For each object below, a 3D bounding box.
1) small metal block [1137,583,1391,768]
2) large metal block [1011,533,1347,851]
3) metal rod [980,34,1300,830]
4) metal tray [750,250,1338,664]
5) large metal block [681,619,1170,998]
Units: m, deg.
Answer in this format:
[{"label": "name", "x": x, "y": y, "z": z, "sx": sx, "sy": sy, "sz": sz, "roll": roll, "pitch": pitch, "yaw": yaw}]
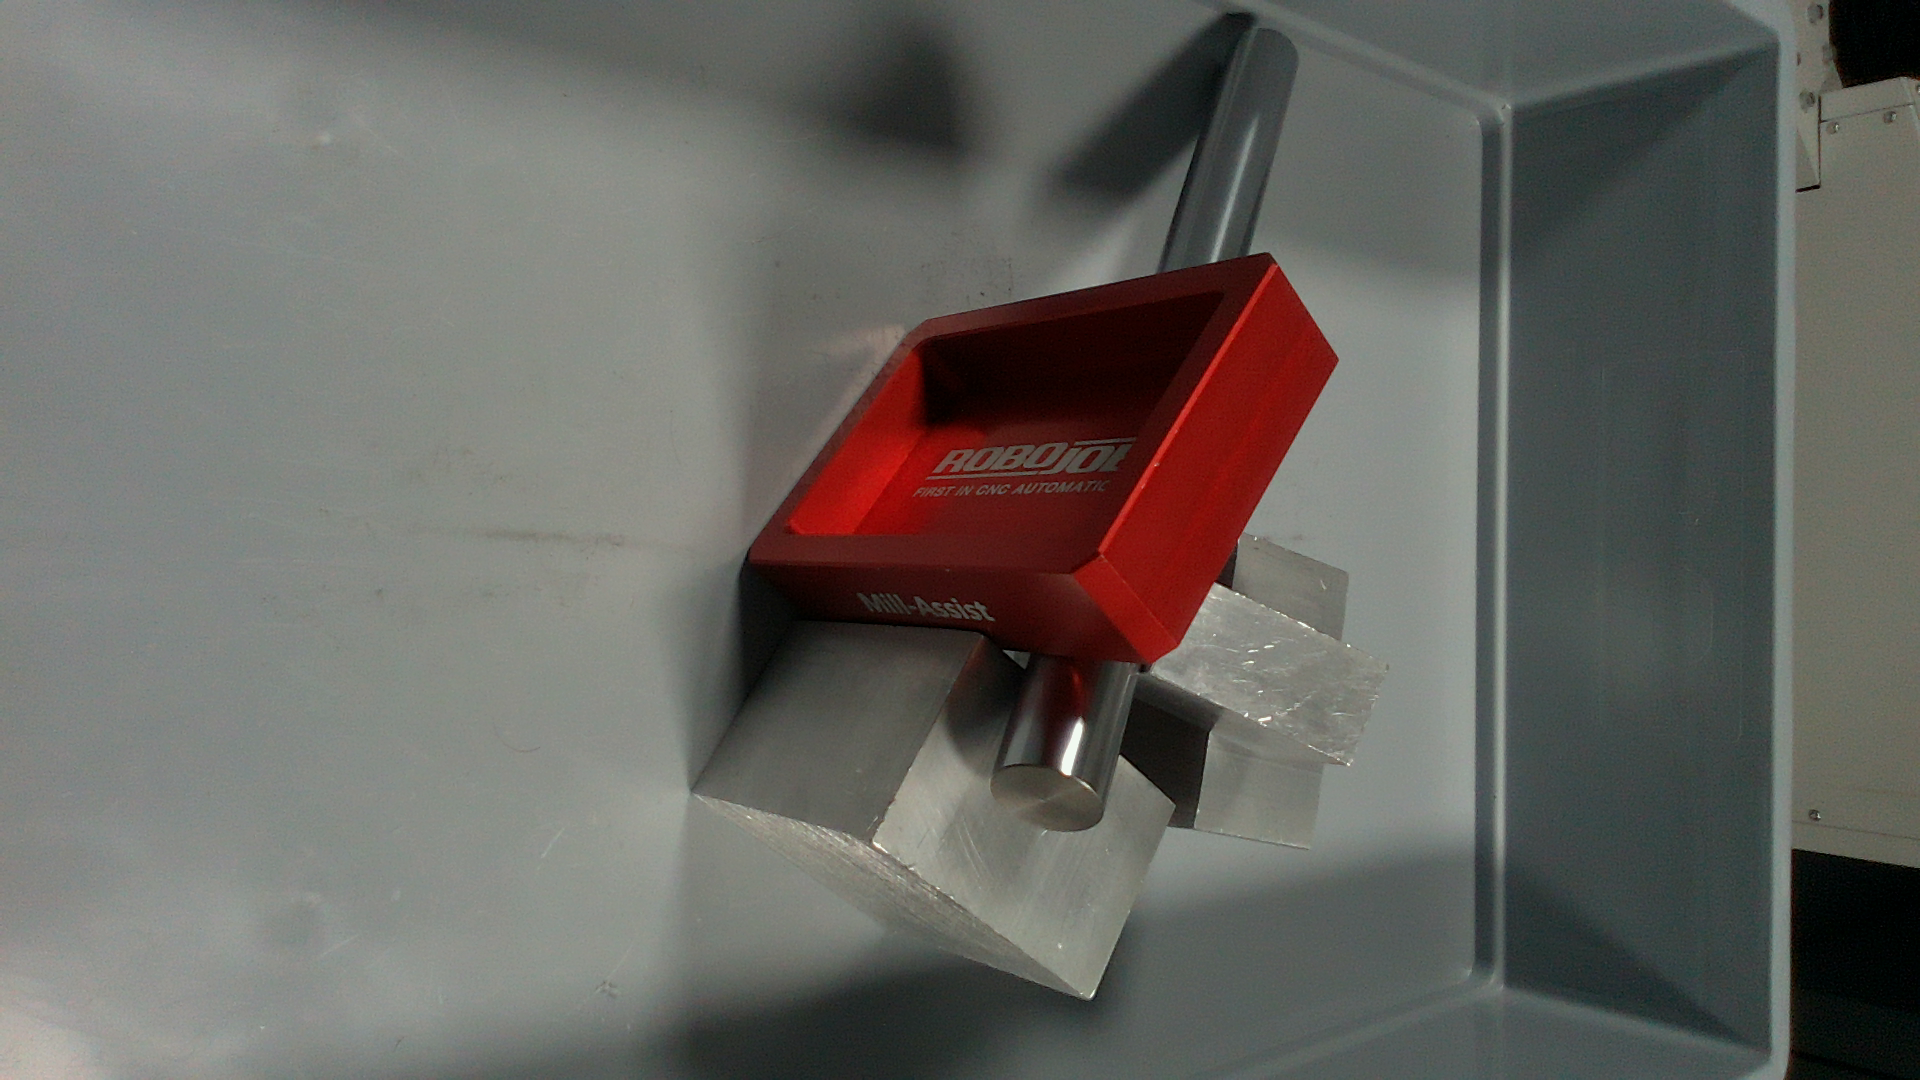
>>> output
[{"label": "small metal block", "x": 0.066, "y": 0.032, "z": 0.330, "sx": 0.050, "sy": 0.050, "sz": 0.025, "roll": 26, "pitch": 80, "yaw": -4}, {"label": "large metal block", "x": 0.060, "y": 0.042, "z": 0.403, "sx": 0.050, "sy": 0.080, "sz": 0.080, "roll": 17, "pitch": 79, "yaw": -38}, {"label": "metal rod", "x": 0.061, "y": -0.055, "z": 0.380, "sx": 0.025, "sy": 0.025, "sz": 0.301, "roll": 49, "pitch": 44, "yaw": -29}, {"label": "metal tray", "x": 0.015, "y": -0.019, "z": 0.331, "sx": 0.030, "sy": 0.129, "sz": 0.090, "roll": 47, "pitch": 63, "yaw": -28}, {"label": "large metal block", "x": -0.009, "y": 0.065, "z": 0.347, "sx": 0.080, "sy": 0.080, "sz": 0.050, "roll": 44, "pitch": 64, "yaw": -31}]
